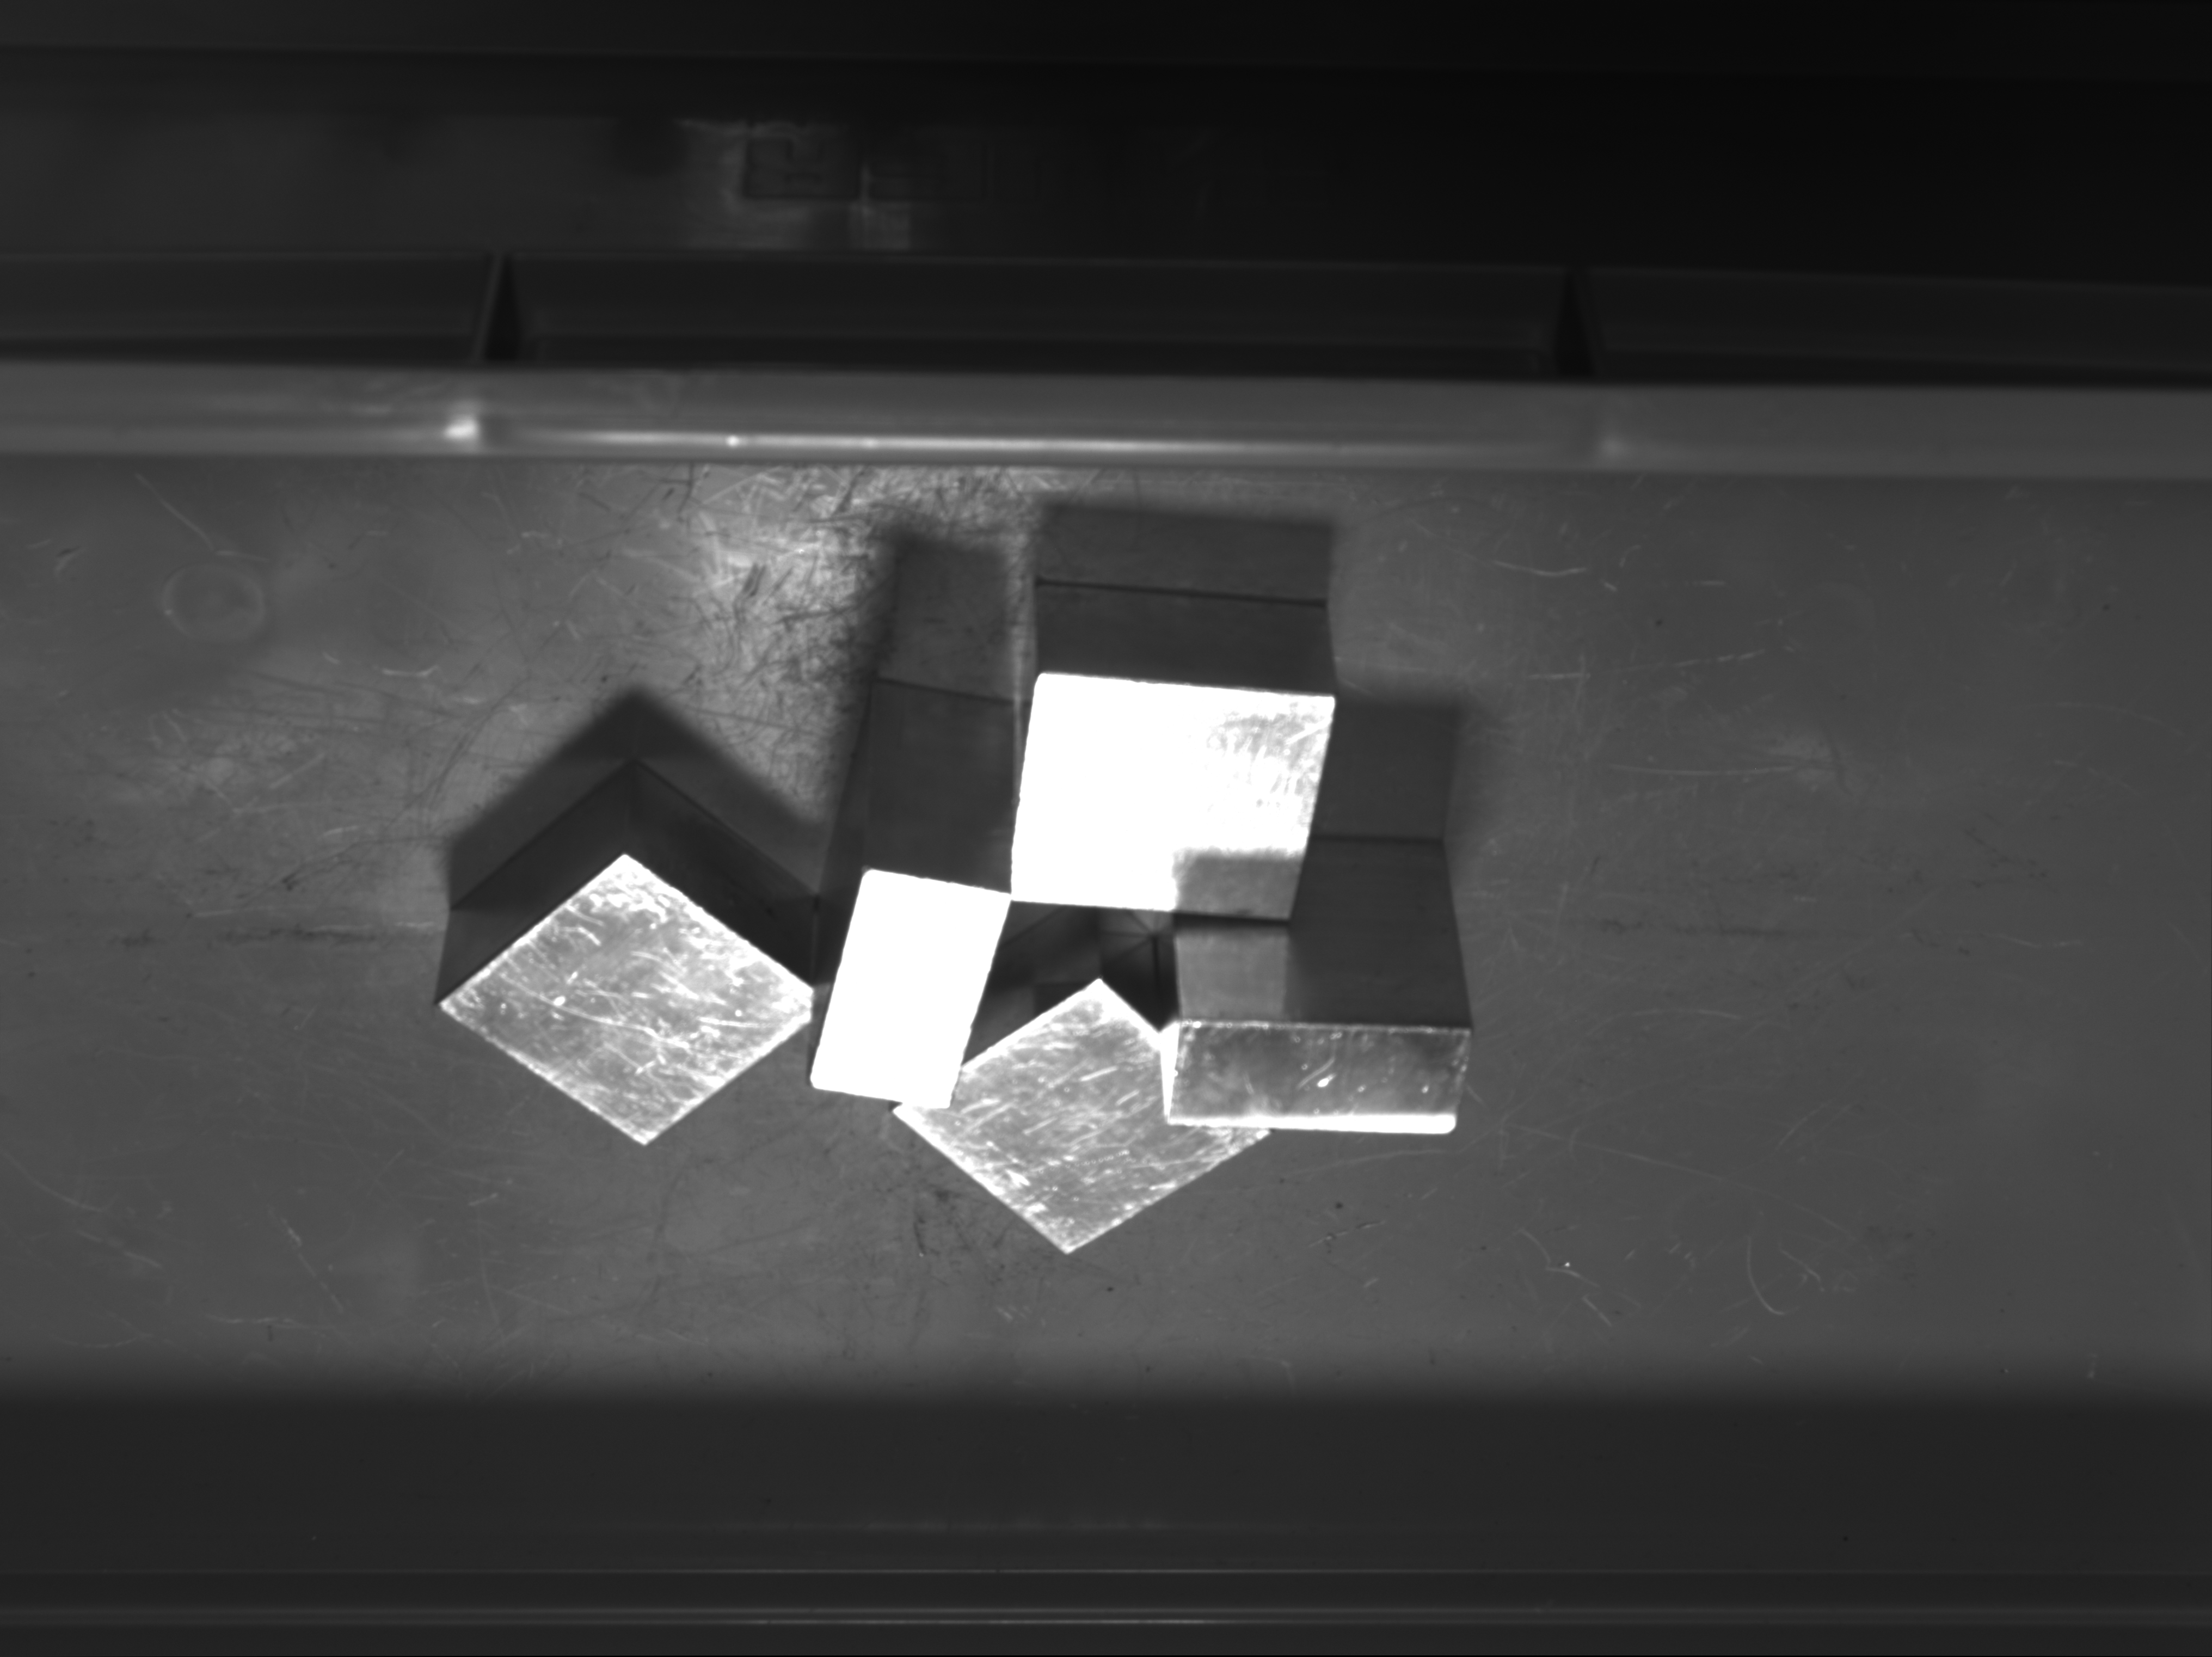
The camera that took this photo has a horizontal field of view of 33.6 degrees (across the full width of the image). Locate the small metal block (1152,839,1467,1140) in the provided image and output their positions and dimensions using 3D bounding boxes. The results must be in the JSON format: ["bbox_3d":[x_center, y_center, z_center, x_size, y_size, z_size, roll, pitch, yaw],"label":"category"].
[{"bbox_3d":[0.035,0.027,0.644,0.050,0.050,0.025,2,130,-4],"label":"small metal block"}]

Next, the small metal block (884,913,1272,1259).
[{"bbox_3d":[-0.005,0.046,0.674,0.050,0.025,0.050,-33,123,23],"label":"small metal block"}]

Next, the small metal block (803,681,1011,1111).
[{"bbox_3d":[-0.034,0.012,0.628,0.025,0.050,0.050,10,129,-10],"label":"small metal block"}]

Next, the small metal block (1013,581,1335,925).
[{"bbox_3d":[0.009,-0.013,0.626,0.050,0.025,0.050,5,130,-6],"label":"small metal block"}]

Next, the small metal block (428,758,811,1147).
[{"bbox_3d":[-0.084,0.023,0.653,0.050,0.025,0.050,-37,122,25],"label":"small metal block"}]
